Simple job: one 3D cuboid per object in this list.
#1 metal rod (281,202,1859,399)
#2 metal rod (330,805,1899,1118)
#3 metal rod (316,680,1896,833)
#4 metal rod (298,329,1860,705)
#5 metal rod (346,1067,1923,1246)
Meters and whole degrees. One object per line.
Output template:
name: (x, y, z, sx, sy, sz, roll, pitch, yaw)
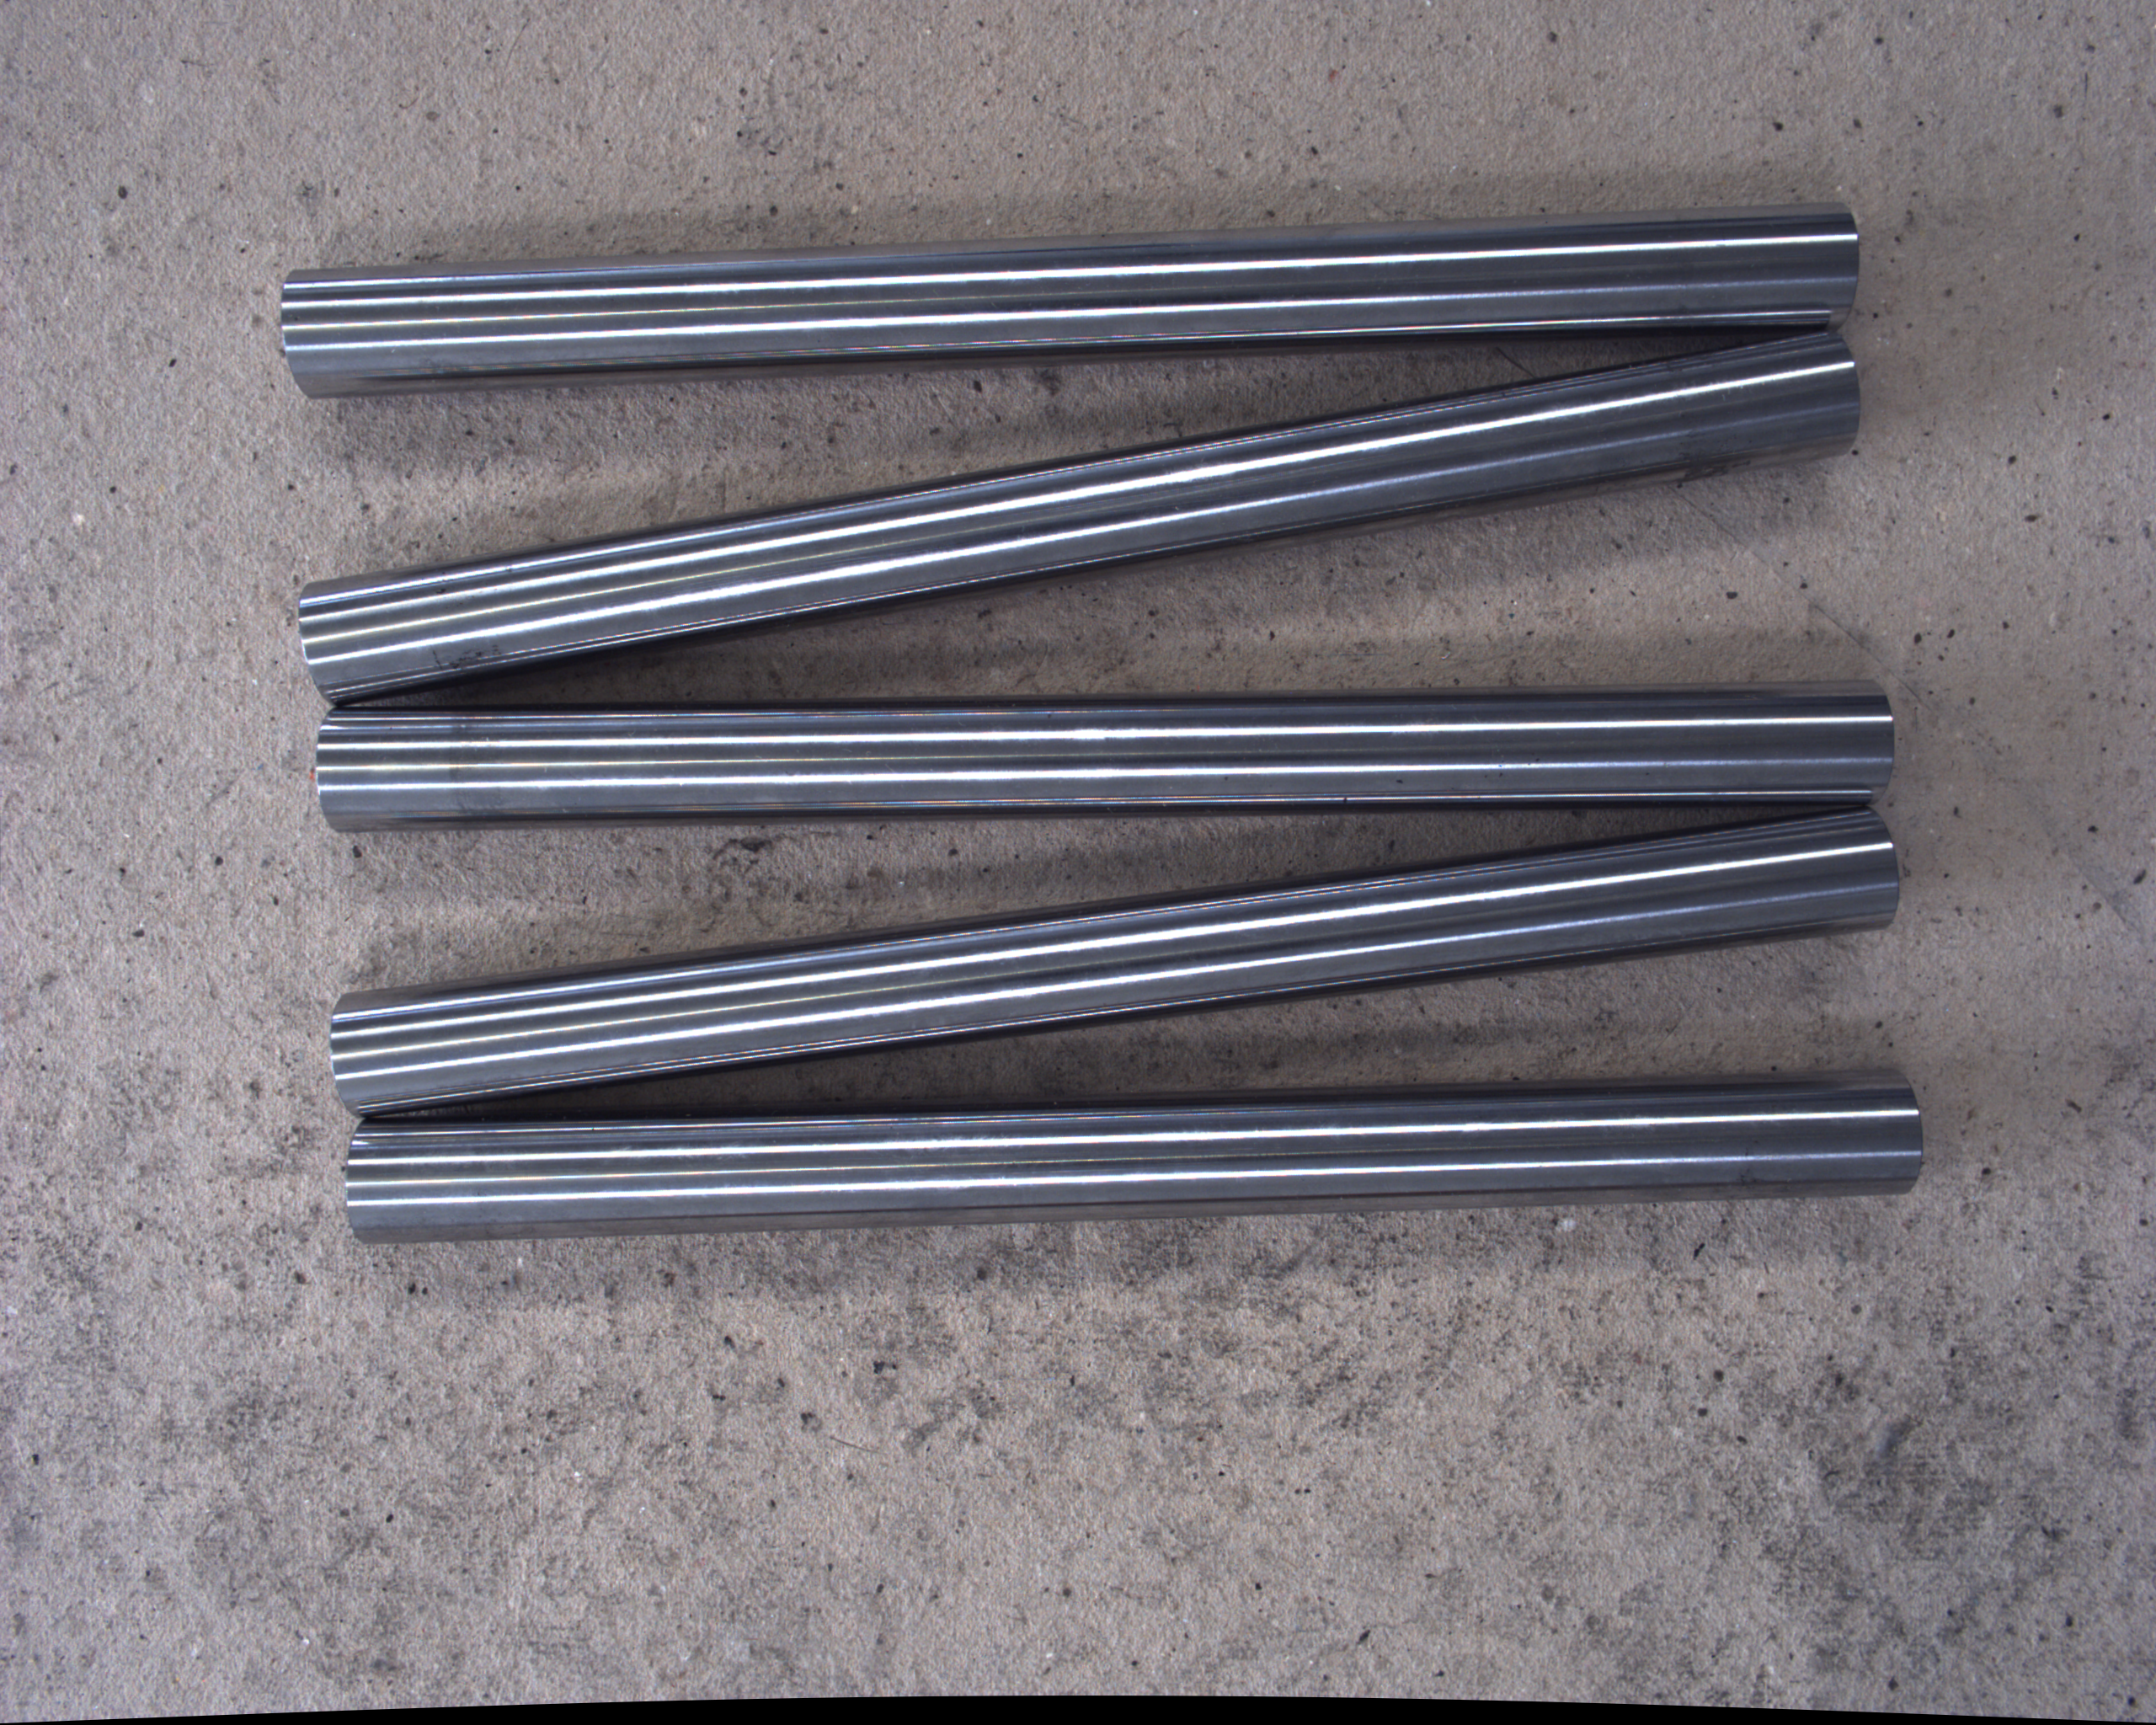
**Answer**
metal rod: (-0.001, -0.111, 0.411, 0.302, 0.025, 0.025, -3, 90, 0)
metal rod: (0.007, 0.019, 0.411, 0.302, 0.025, 0.025, -7, 90, 0)
metal rod: (0.006, -0.021, 0.411, 0.302, 0.025, 0.025, -1, 90, -1)
metal rod: (0.001, -0.068, 0.411, 0.302, 0.025, 0.025, -9, 90, 0)
metal rod: (0.011, 0.058, 0.411, 0.302, 0.025, 0.025, -2, 90, -1)
